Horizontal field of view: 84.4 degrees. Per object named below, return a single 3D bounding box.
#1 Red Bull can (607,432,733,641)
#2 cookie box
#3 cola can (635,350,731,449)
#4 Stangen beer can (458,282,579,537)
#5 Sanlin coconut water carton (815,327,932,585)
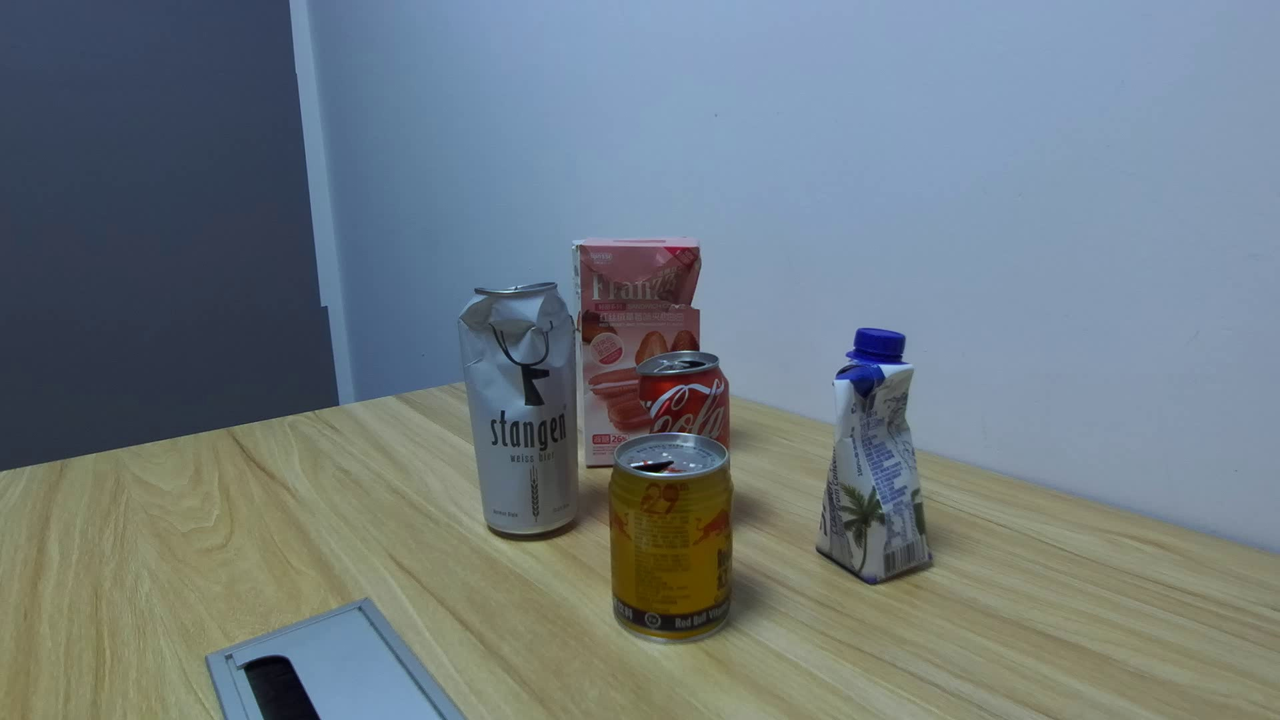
[{"bbox_3d":[0.017,0.092,0.377,0.067,0.093,0.067,-1,16,0],"label":"Red Bull can"},{"bbox_3d":[-0.001,-0.004,0.582,0.105,0.186,0.059,0,13,2],"label":"cookie box"},{"bbox_3d":[0.030,0.056,0.474,0.065,0.117,0.072,3,14,10],"label":"cola can"},{"bbox_3d":[-0.077,0.033,0.478,0.065,0.166,0.066,3,14,24],"label":"Stangen beer can"},{"bbox_3d":[0.132,0.055,0.424,0.069,0.144,0.056,-16,12,-25],"label":"Sanlin coconut water carton"}]
